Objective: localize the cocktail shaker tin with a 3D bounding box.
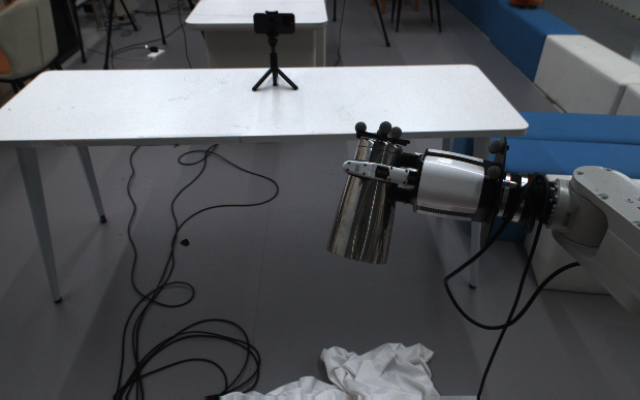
[{"bbox_3d":[0.073,-0.004,0.717,0.093,0.170,0.093,13,3,-1],"label":"cocktail shaker tin"}]
